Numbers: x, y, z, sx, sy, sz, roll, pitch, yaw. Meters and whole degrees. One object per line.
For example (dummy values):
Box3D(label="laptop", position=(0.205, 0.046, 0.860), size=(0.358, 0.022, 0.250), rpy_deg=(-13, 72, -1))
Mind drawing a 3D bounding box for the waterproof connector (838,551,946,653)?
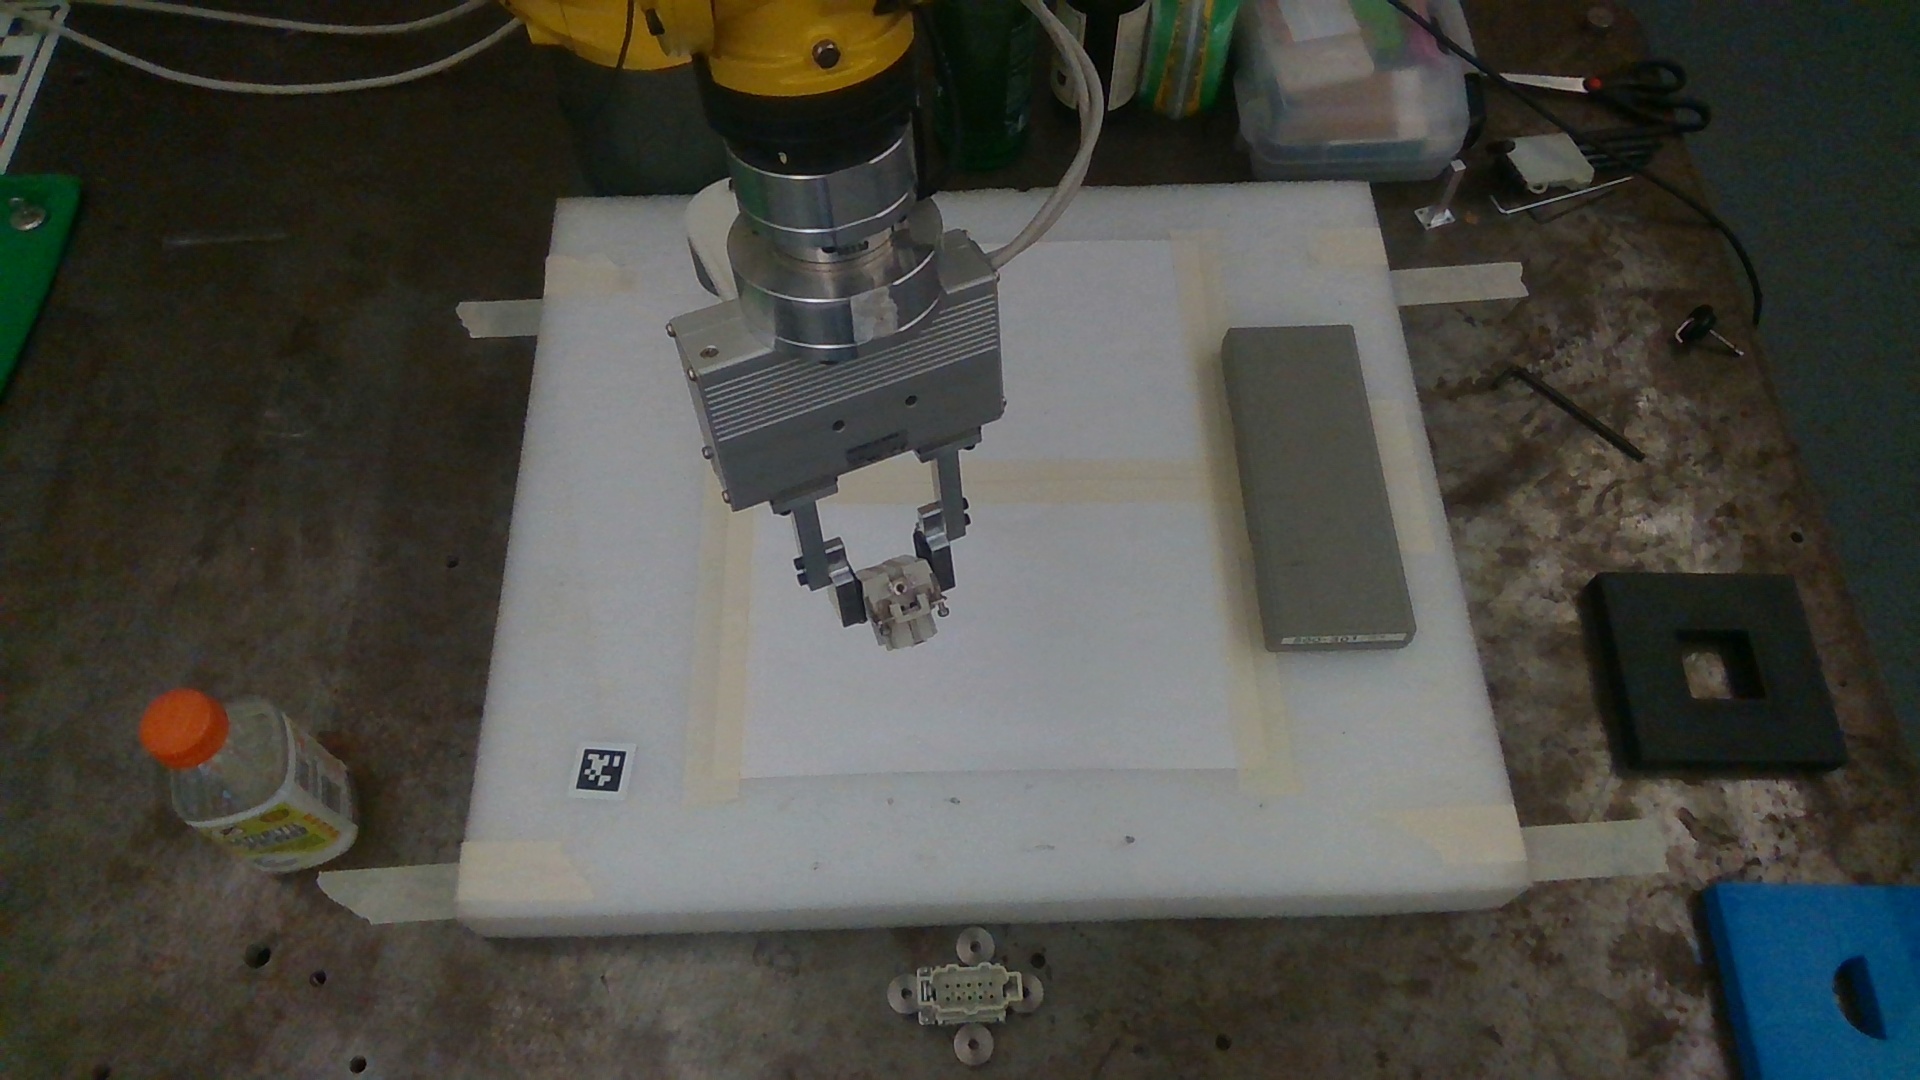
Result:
Box3D(label="waterproof connector", position=(-0.030, 0.028, 0.627), size=(0.036, 0.069, 0.038), rpy_deg=(-19, 94, -15))
